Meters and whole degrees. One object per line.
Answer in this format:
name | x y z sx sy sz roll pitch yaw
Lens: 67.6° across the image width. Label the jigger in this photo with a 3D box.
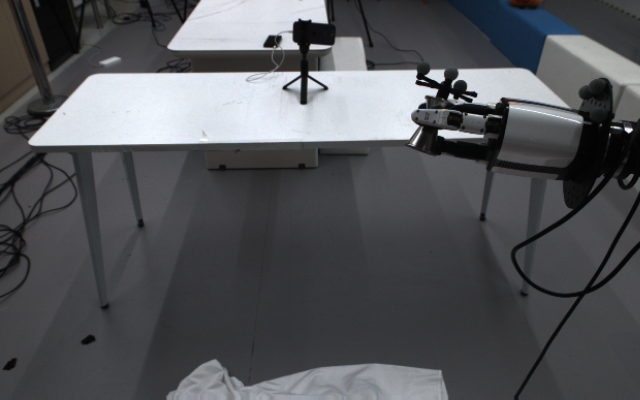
jigger | 0.141 -0.097 0.627 0.043 0.071 0.043 22 5 -2
